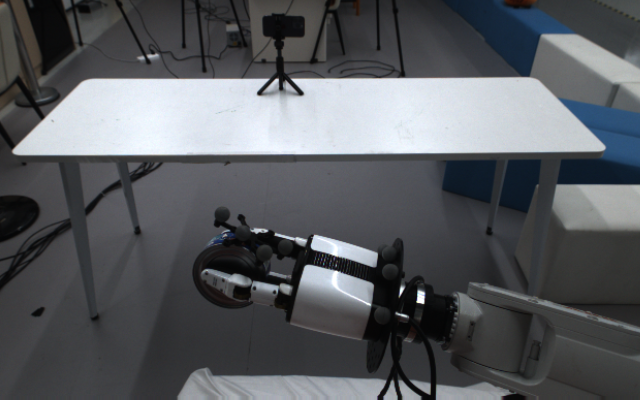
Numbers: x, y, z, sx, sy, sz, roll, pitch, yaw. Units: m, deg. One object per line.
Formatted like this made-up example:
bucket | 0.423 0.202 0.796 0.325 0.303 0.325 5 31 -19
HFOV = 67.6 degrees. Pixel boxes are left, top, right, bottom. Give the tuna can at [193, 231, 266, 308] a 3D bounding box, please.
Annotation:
tuna can | -0.100 0.082 0.567 0.085 0.085 0.034 4 20 3
